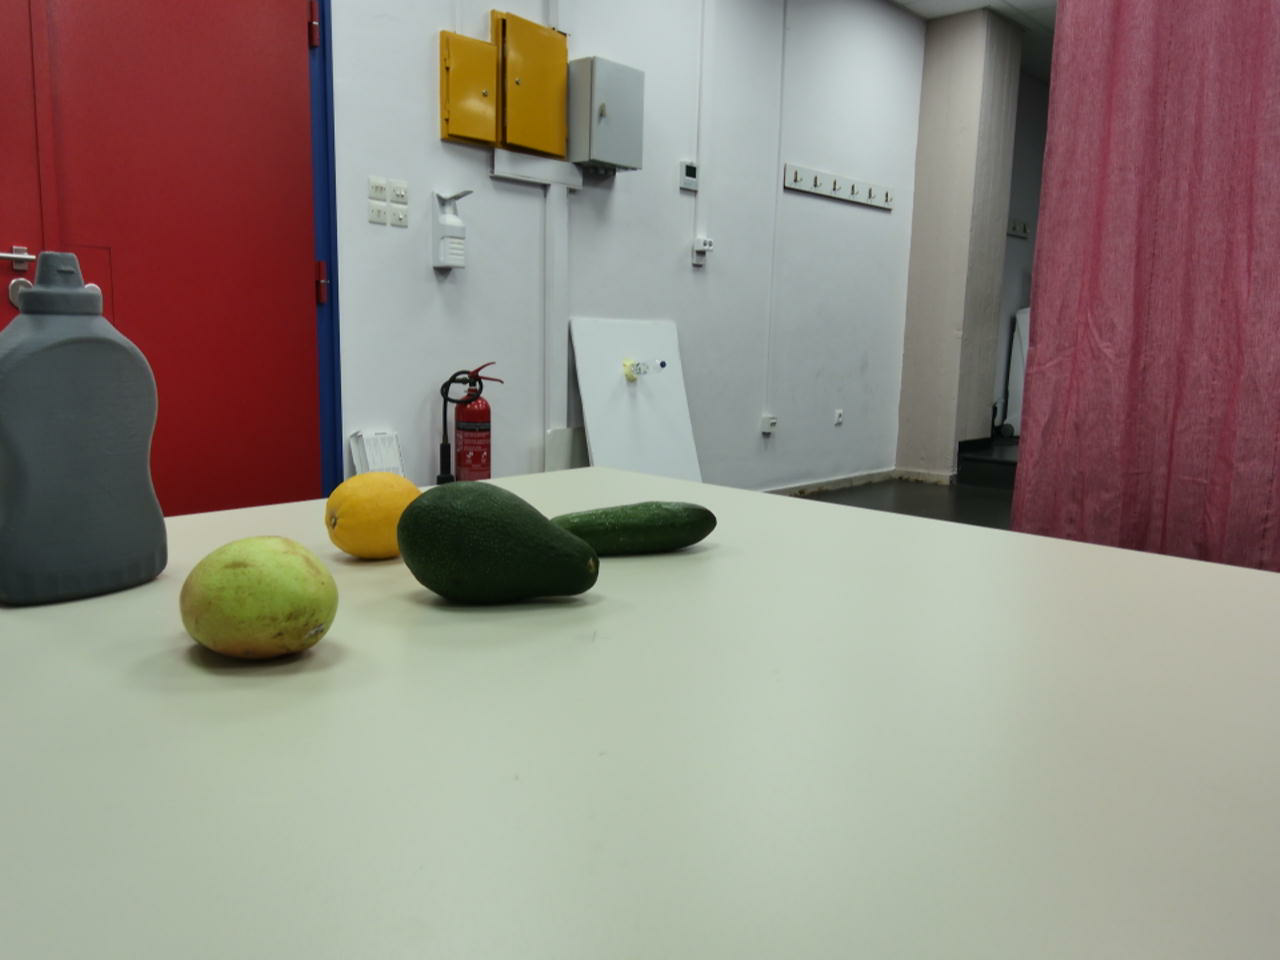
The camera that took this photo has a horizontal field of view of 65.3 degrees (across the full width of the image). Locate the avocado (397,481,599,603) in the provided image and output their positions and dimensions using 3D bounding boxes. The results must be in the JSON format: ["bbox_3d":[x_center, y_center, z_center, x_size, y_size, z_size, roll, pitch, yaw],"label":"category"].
[{"bbox_3d":[-0.084,0.036,0.579,0.110,0.071,0.072,3,8,19],"label":"avocado"}]
